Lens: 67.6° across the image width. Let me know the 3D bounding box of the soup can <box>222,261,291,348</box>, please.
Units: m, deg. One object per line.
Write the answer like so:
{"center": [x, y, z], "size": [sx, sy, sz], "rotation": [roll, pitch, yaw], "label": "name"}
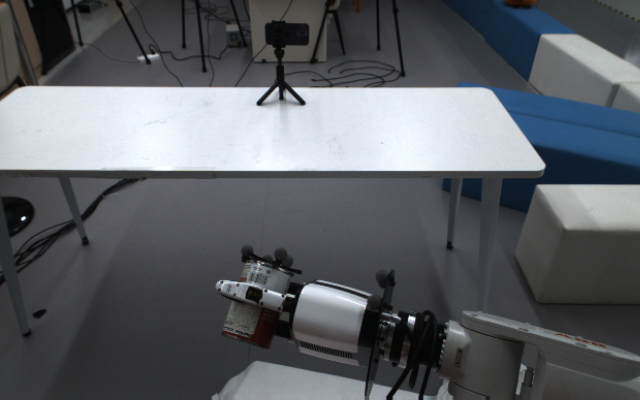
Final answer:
{"center": [-0.080, 0.138, 0.637], "size": [0.067, 0.067, 0.101], "rotation": [12, 70, 14], "label": "soup can"}
